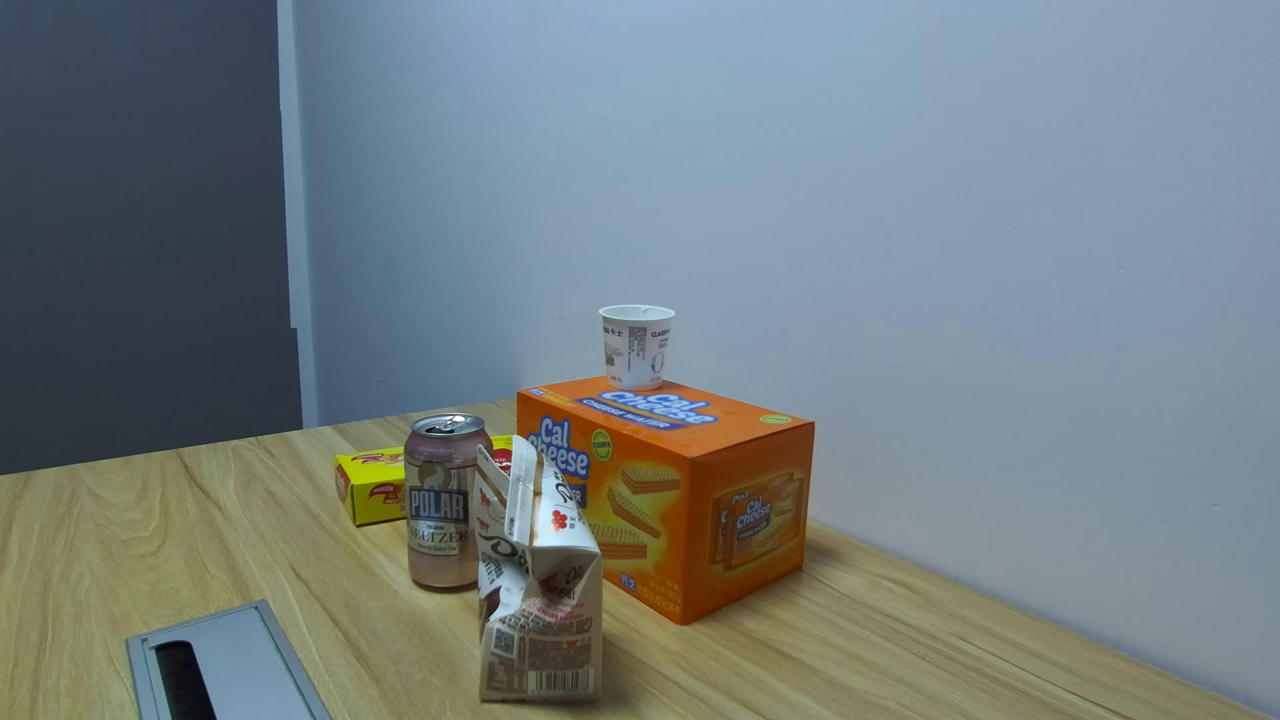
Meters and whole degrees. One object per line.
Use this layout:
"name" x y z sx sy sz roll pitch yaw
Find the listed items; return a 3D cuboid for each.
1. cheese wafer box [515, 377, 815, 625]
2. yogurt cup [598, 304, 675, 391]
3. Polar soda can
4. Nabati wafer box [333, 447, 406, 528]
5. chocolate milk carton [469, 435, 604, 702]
"cheese wafer box" 0.014 0.100 0.606 0.149 0.129 0.220 -9 17 -41
"yogurt cup" -0.004 -0.012 0.657 0.072 0.068 0.072 2 15 0
"Polar soda can" -0.147 0.108 0.550 0.067 0.125 0.067 2 11 0
"Nabati wafer box" -0.192 0.113 0.714 0.204 0.042 0.096 -6 13 -28
"chocolate milk carton" -0.064 0.128 0.426 0.077 0.155 0.089 -4 26 -7
